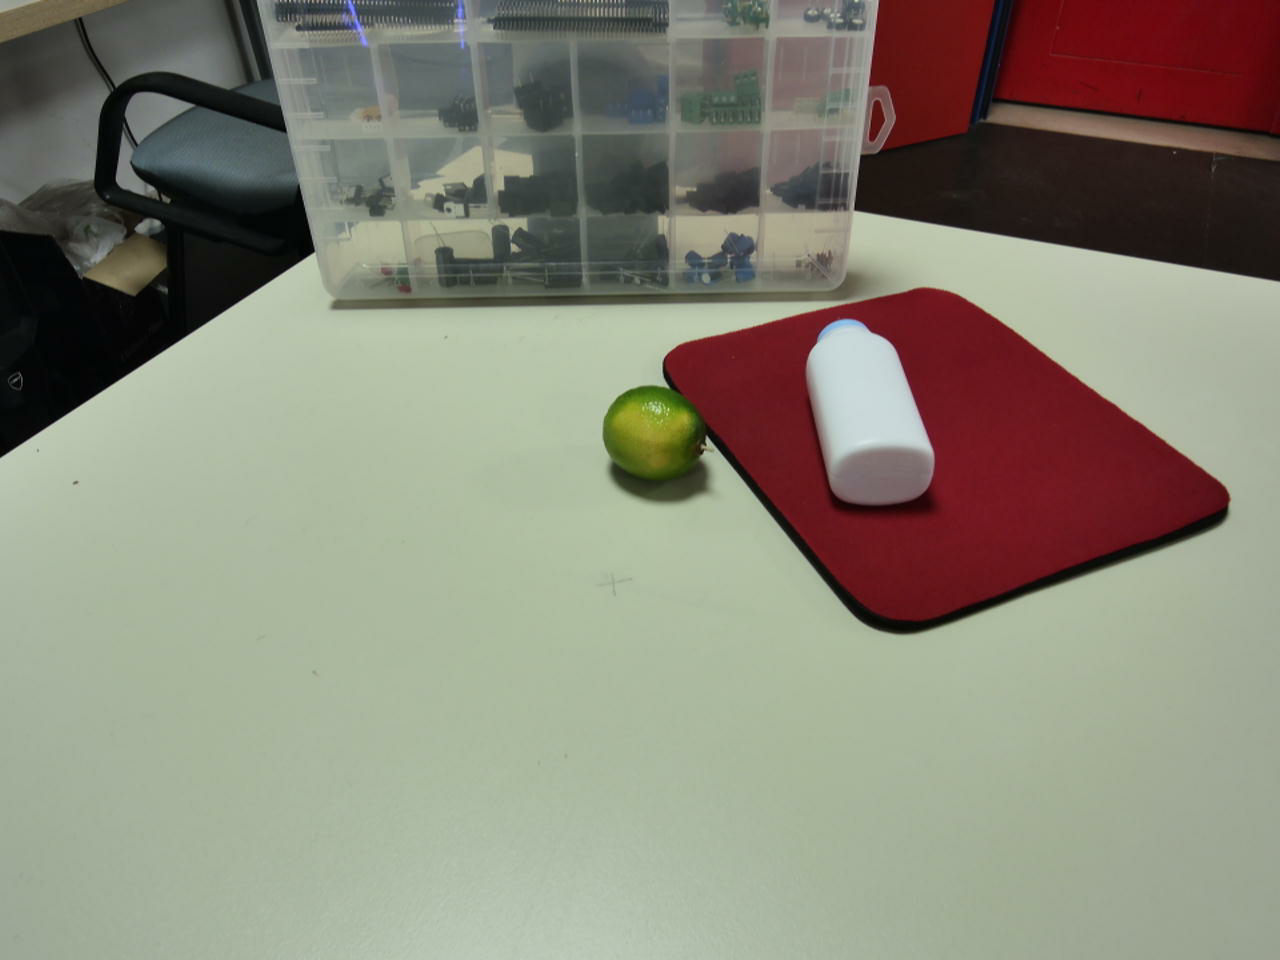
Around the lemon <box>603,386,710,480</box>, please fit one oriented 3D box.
[{"bbox_3d":[0.008,-0.026,0.543,0.054,0.050,0.055,-8,39,-11],"label":"lemon"}]
